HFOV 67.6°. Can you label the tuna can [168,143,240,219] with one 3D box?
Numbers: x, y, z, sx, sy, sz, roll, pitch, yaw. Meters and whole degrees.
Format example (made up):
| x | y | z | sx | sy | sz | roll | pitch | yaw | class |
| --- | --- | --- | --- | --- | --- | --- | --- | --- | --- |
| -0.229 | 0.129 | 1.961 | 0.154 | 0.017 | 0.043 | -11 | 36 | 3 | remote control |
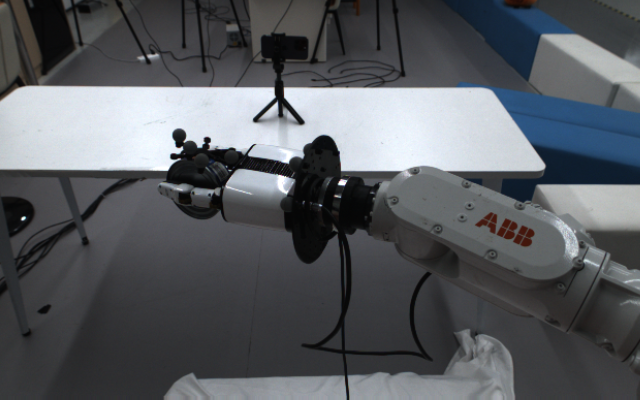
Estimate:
| x | y | z | sx | sy | sz | roll | pitch | yaw | class |
| --- | --- | --- | --- | --- | --- | --- | --- | --- | --- |
| -0.157 | -0.020 | 0.641 | 0.085 | 0.085 | 0.034 | 16 | 29 | 19 | tuna can |
